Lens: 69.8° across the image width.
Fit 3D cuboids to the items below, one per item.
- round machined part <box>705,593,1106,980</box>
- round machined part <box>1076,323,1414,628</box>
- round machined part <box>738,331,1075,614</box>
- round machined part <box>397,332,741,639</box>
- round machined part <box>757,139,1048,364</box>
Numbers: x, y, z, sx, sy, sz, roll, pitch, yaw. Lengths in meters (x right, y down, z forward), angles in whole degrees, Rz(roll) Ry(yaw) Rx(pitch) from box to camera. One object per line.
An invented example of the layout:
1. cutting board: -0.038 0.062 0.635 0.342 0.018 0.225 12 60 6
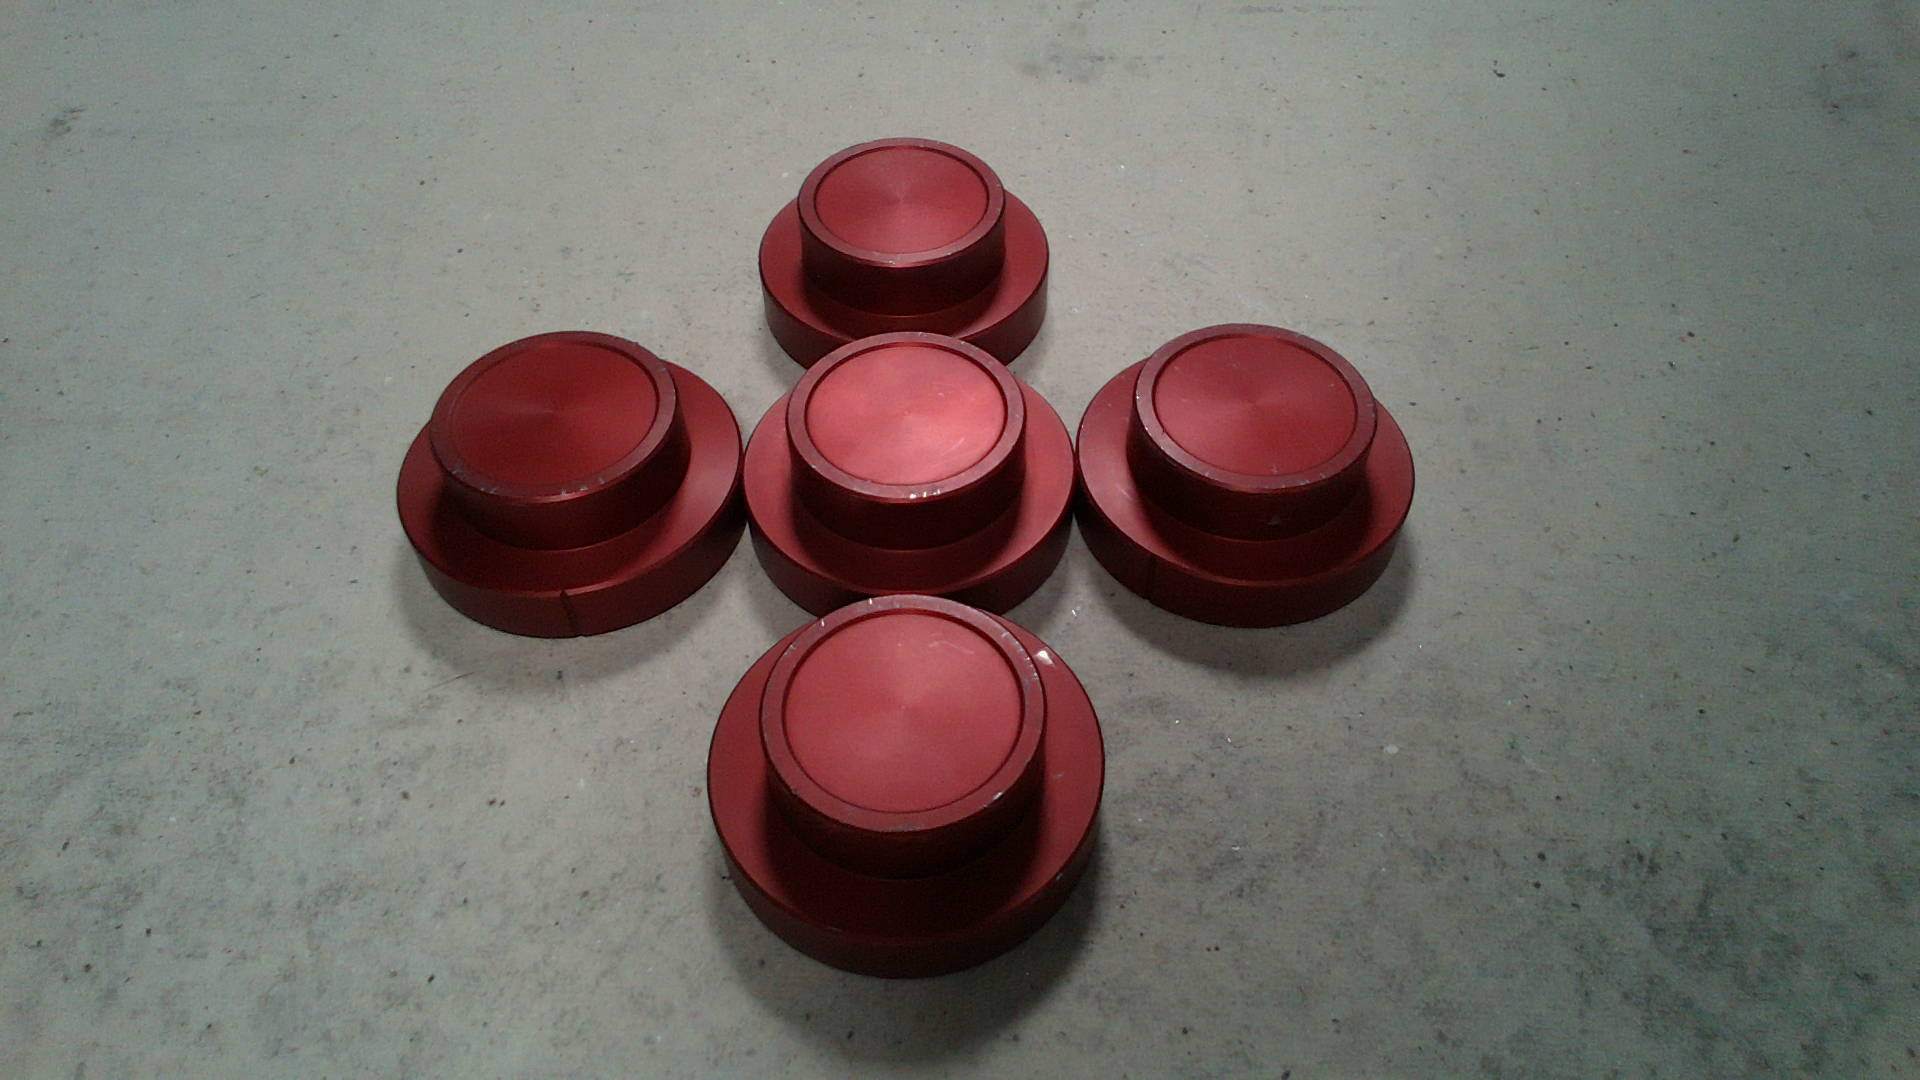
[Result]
1. round machined part: -0.013 0.052 0.336 0.098 0.042 0.098 0 50 0
2. round machined part: 0.083 -0.026 0.402 0.098 0.042 0.098 0 50 0
3. round machined part: -0.015 -0.023 0.400 0.098 0.042 0.098 0 50 0
4. round machined part: -0.113 -0.023 0.400 0.098 0.042 0.098 0 50 0
5. round machined part: -0.019 -0.098 0.464 0.098 0.042 0.098 0 50 0
